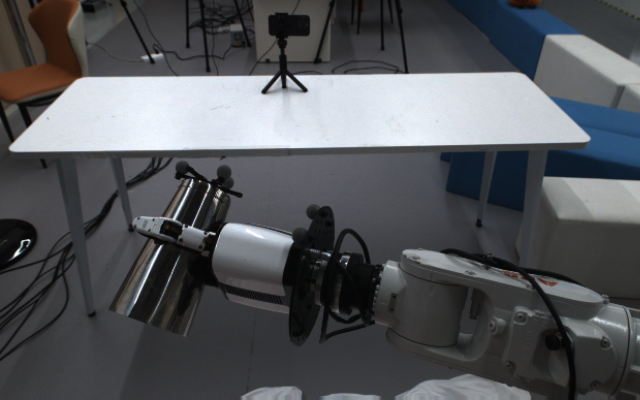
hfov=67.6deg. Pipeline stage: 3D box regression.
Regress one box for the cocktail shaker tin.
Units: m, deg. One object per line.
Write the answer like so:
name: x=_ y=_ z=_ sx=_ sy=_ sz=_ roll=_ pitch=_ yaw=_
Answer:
cocktail shaker tin: x=-0.168 y=0.065 z=0.574 sx=0.093 sy=0.093 sz=0.170 roll=13 pitch=70 yaw=15
